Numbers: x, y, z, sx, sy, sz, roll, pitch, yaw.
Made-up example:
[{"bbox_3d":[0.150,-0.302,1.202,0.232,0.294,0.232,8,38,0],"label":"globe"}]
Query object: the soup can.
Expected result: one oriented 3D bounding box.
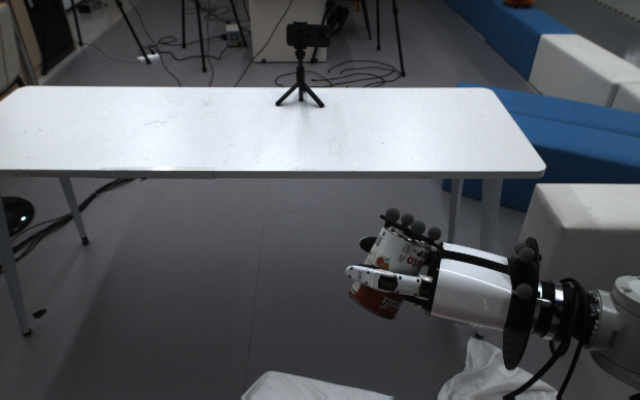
[{"bbox_3d":[0.090,0.089,0.609,0.067,0.101,0.067,26,5,-3],"label":"soup can"}]
